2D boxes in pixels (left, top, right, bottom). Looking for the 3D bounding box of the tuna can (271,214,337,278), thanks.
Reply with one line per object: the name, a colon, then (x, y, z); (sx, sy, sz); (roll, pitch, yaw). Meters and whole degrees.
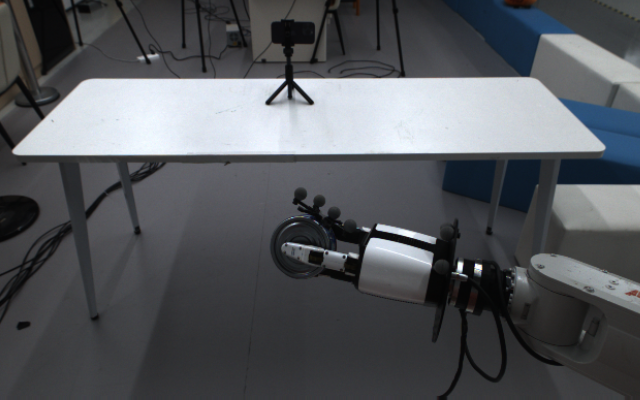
tuna can: (-0.019, 0.068, 0.647); (0.085, 0.085, 0.034); (12, 4, 15)
